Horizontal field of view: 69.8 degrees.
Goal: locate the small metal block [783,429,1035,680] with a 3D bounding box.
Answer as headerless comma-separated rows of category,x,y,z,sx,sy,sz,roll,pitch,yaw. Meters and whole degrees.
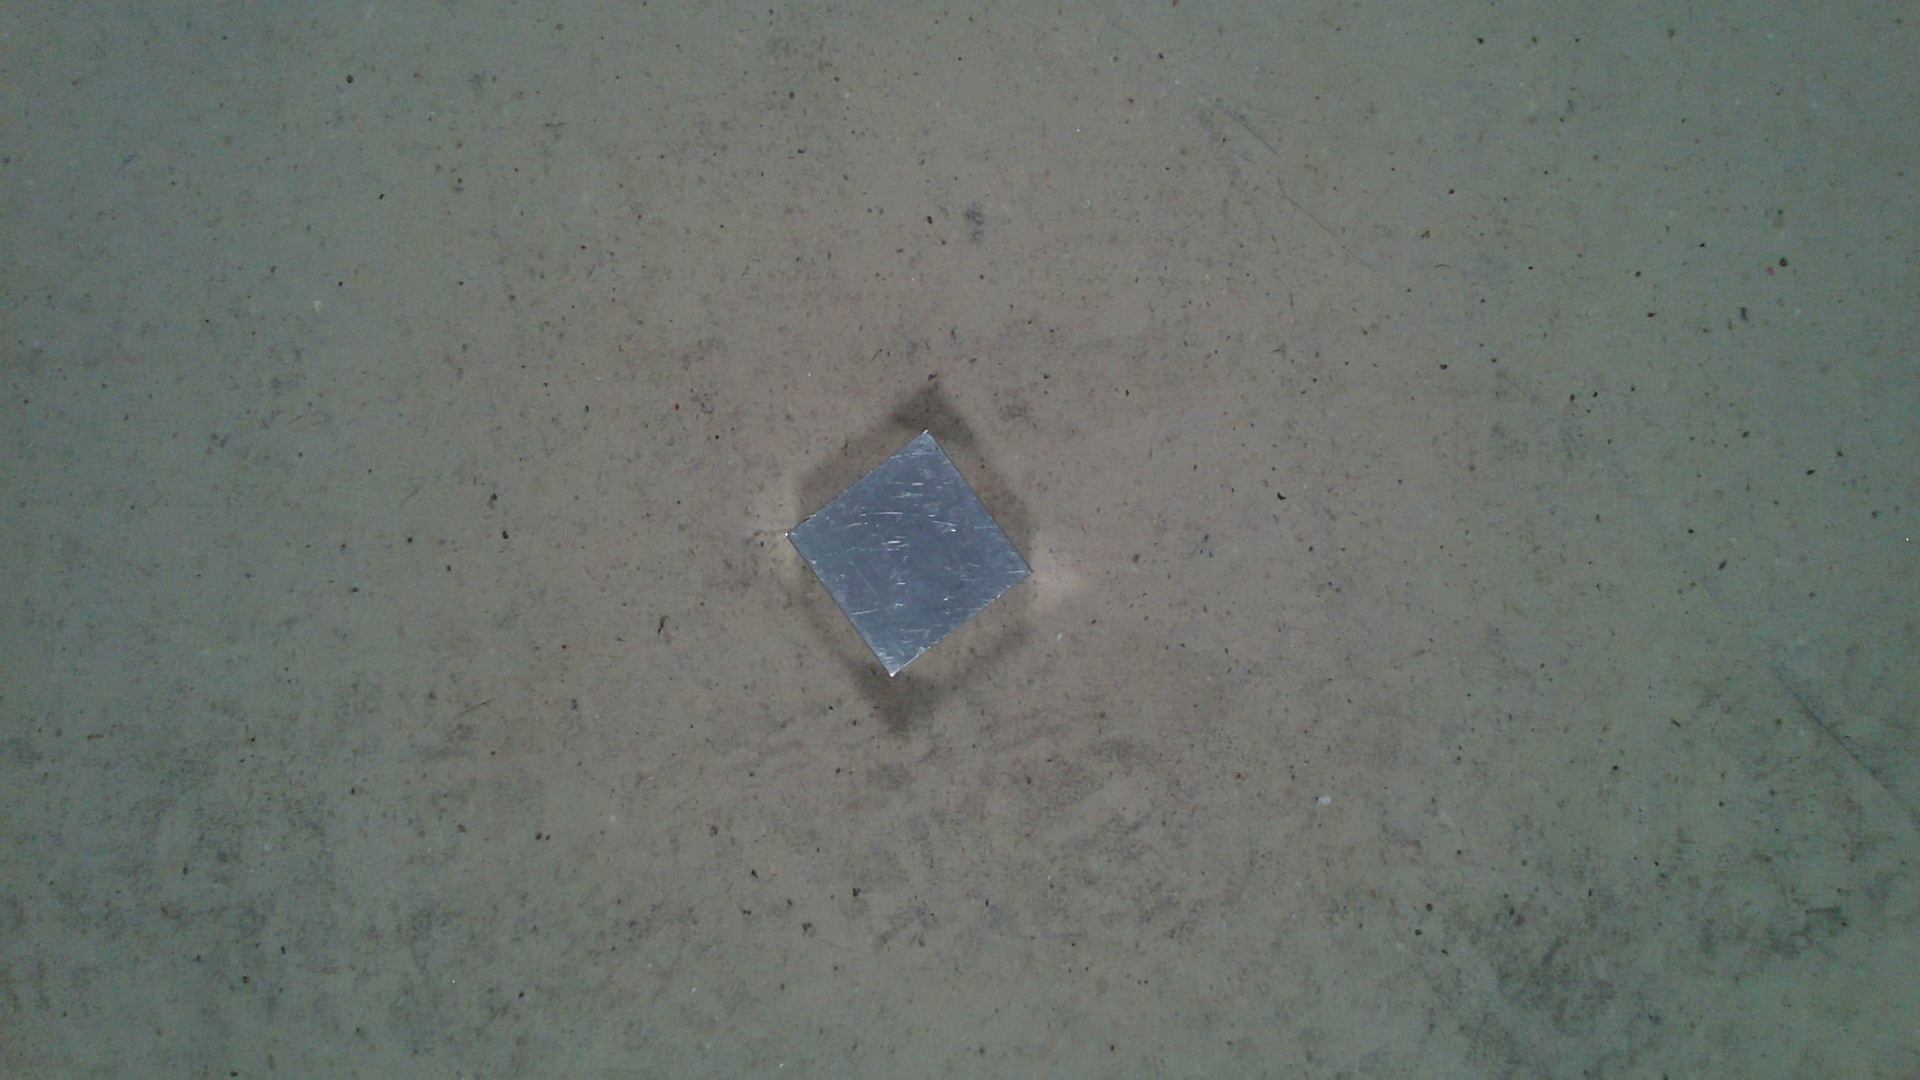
small metal block,-0.014,0.004,0.396,0.050,0.025,0.050,-37,90,0
